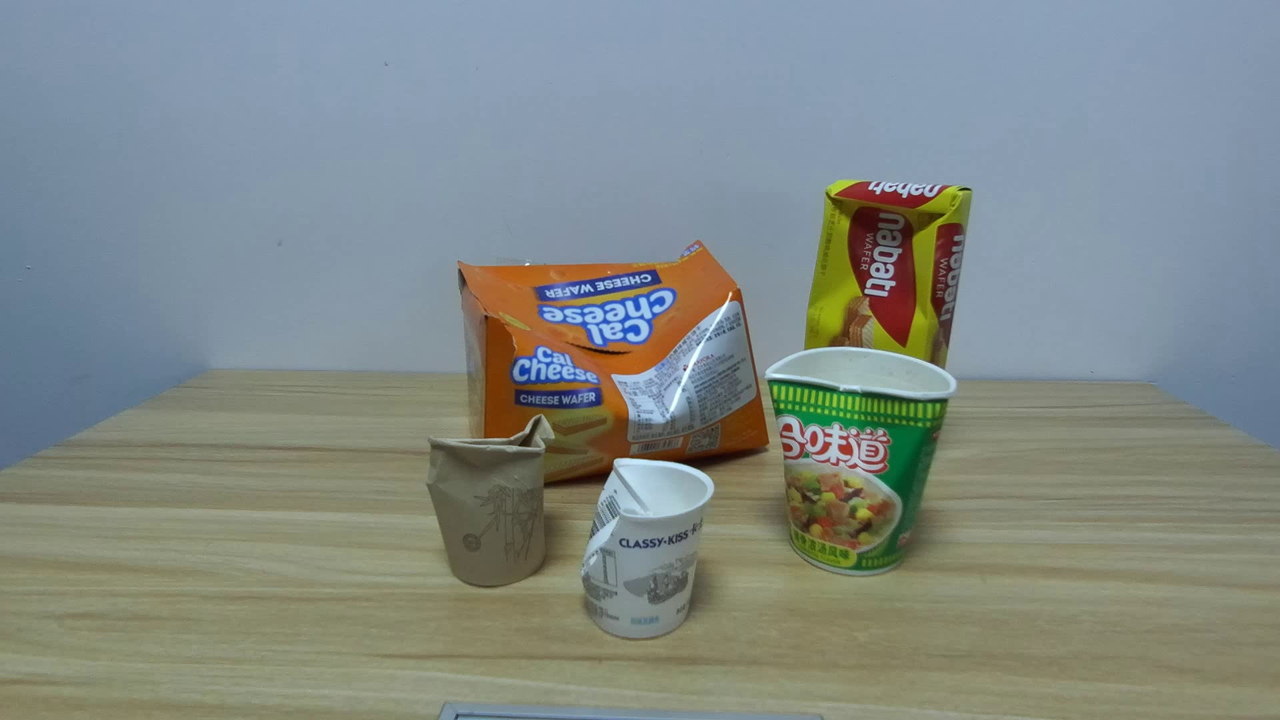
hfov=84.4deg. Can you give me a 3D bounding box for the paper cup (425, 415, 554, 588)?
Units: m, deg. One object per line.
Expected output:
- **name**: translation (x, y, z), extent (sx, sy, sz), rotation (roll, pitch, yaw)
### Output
- **paper cup**: translation (-0.080, 0.076, 0.400), extent (0.066, 0.083, 0.058), rotation (2, 18, 4)

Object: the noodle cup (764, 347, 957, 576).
- **noodle cup**: translation (0.126, 0.057, 0.407), extent (0.093, 0.109, 0.087), rotation (18, 25, 42)

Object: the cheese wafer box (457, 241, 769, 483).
- **cheese wafer box**: translation (-0.020, -0.004, 0.549), extent (0.219, 0.145, 0.190), rotation (-5, 18, -17)

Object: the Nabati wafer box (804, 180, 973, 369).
- **Nabati wafer box**: translation (0.173, -0.025, 0.515), extent (0.096, 0.203, 0.042), rotation (17, 22, 40)

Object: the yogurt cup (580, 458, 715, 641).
- **yogurt cup**: translation (0.003, 0.095, 0.357), extent (0.067, 0.070, 0.067), rotation (-1, 17, 0)
